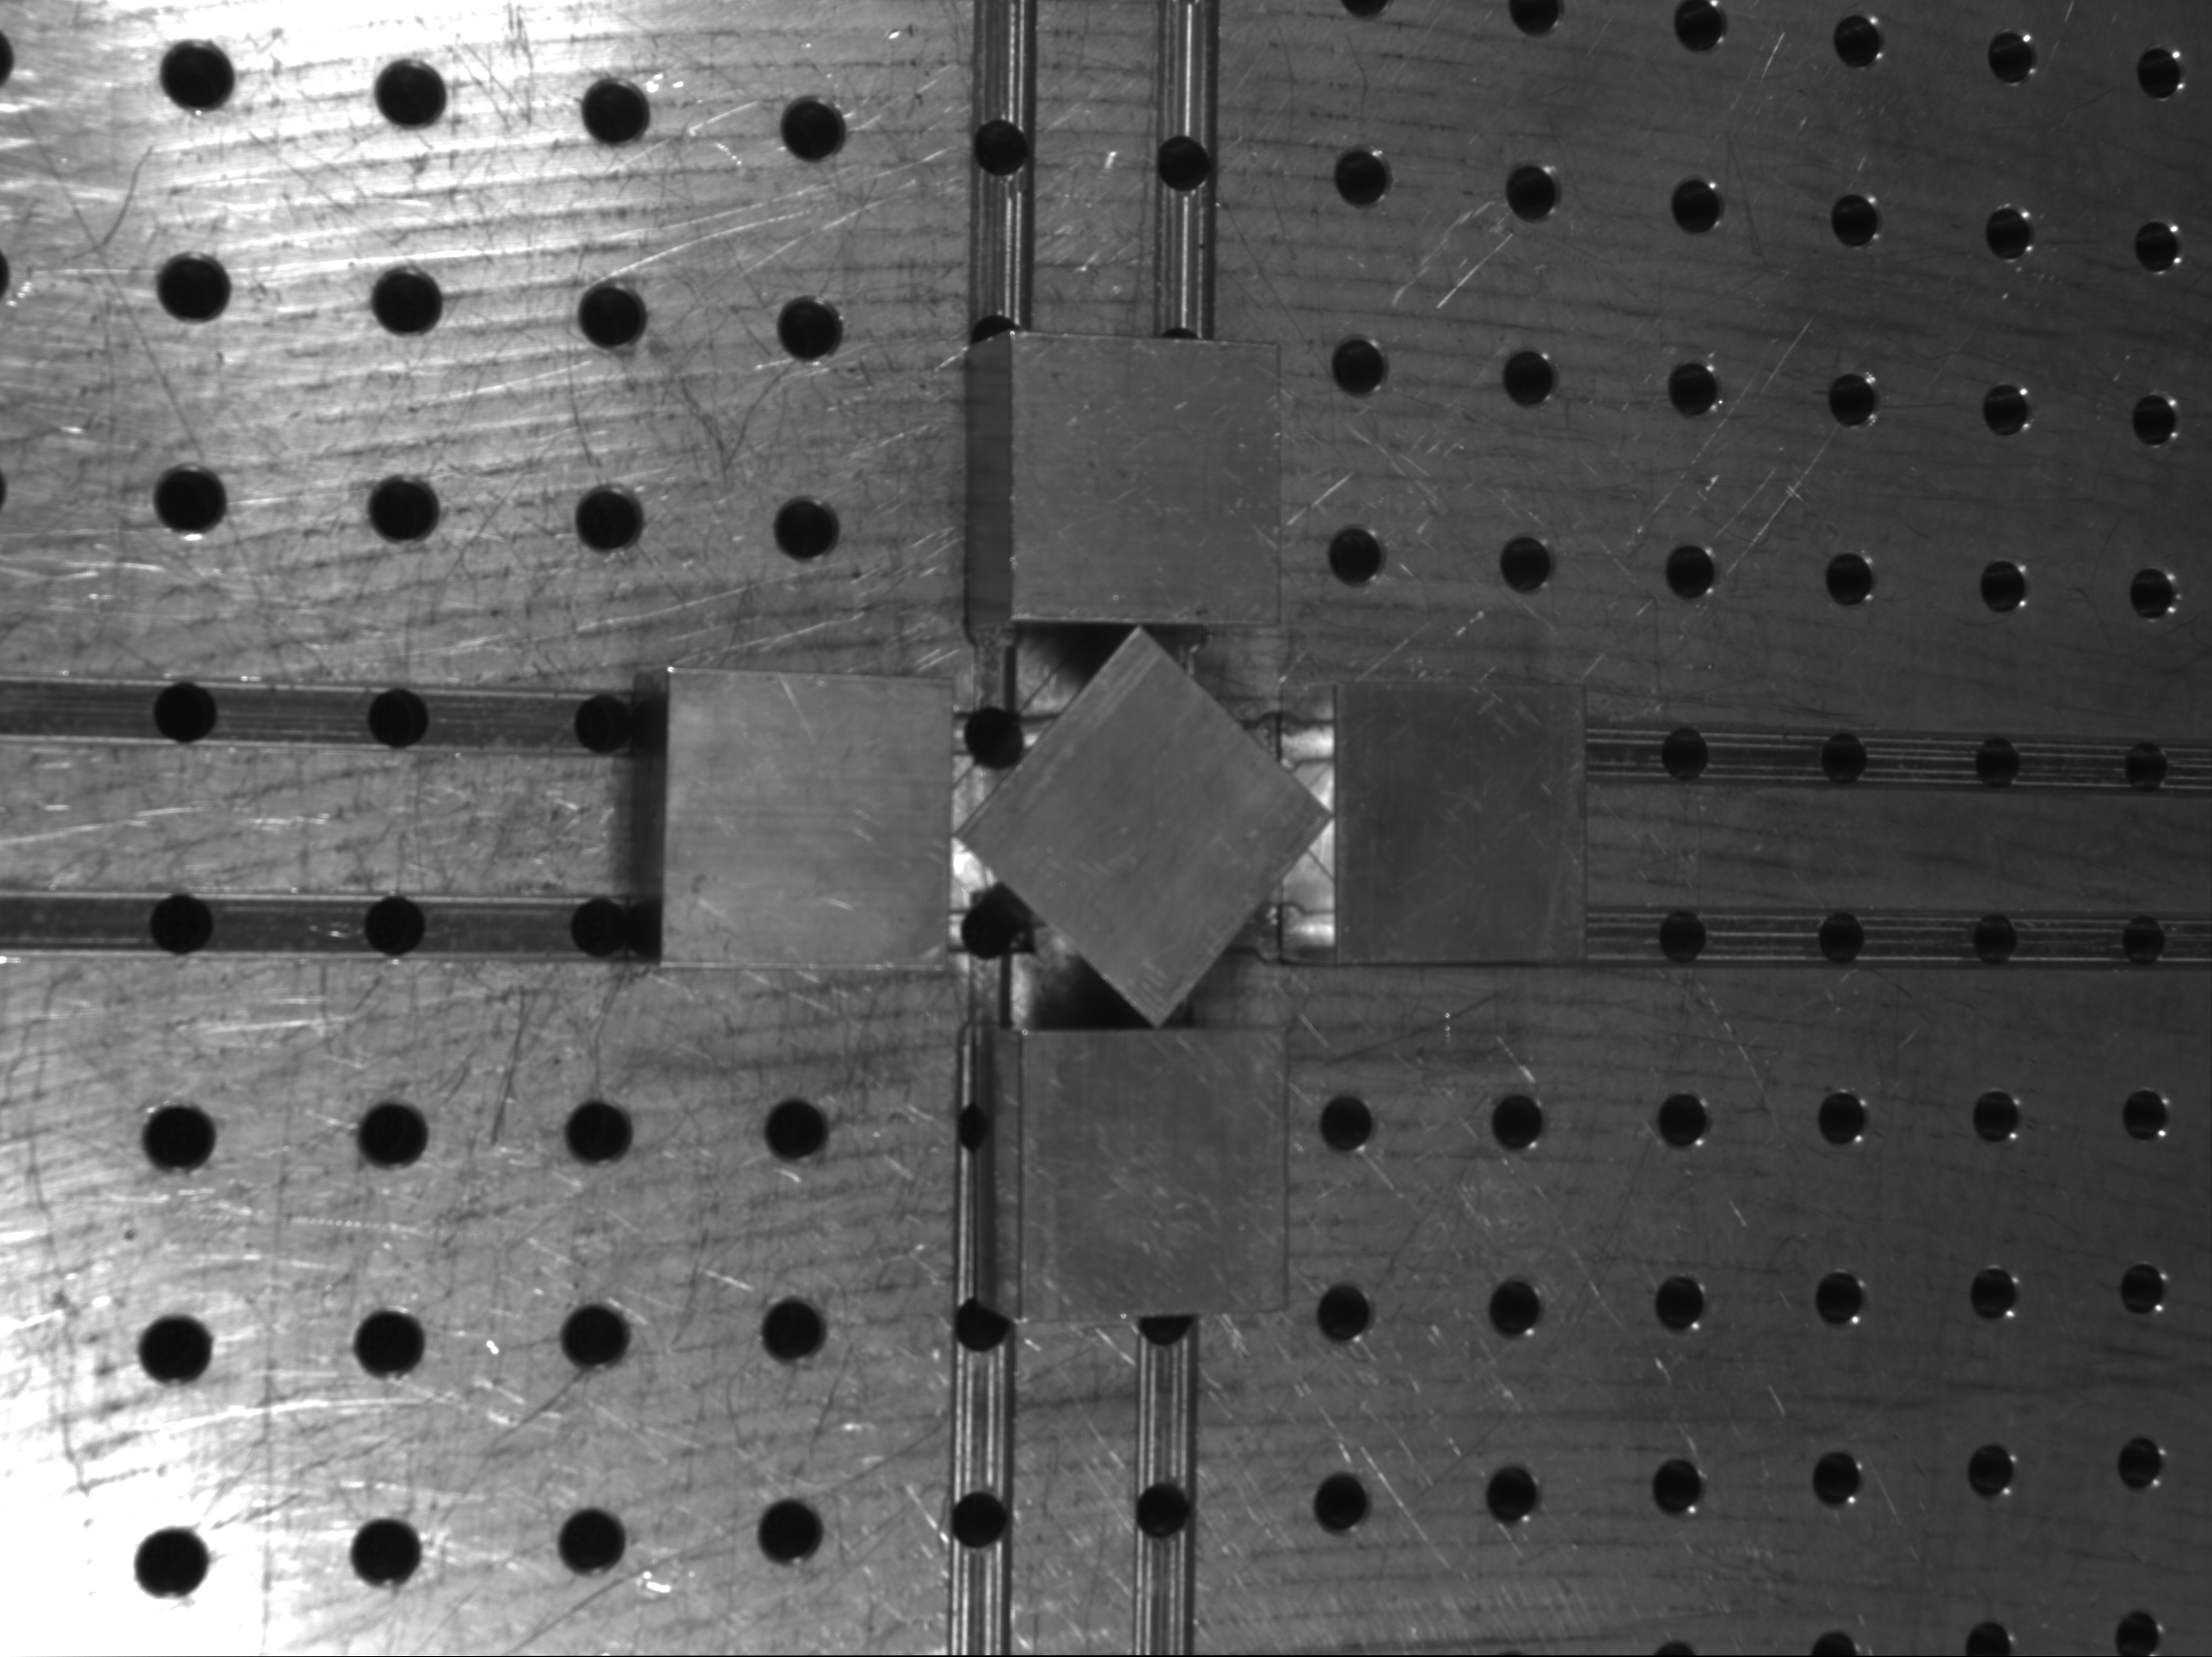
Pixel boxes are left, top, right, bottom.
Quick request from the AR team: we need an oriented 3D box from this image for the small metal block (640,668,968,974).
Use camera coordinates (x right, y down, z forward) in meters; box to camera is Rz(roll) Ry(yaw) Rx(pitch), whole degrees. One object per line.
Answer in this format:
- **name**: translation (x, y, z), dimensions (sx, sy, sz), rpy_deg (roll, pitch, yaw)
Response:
- **small metal block**: translation (-0.052, -0.001, 0.627), dimensions (0.050, 0.025, 0.050), rpy_deg (2, 89, -20)

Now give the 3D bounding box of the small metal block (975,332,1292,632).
- **small metal block**: translation (0.005, -0.060, 0.648), dimensions (0.050, 0.025, 0.050), rpy_deg (-1, 90, -20)

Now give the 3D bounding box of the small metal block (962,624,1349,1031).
- **small metal block**: translation (0.005, 0.000, 0.648), dimensions (0.050, 0.025, 0.050), rpy_deg (44, 76, -15)

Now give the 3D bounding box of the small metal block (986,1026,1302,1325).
- **small metal block**: translation (0.007, 0.060, 0.648), dimensions (0.050, 0.025, 0.050), rpy_deg (0, 90, -20)

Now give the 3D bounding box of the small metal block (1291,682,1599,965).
- **small metal block**: translation (0.062, -0.001, 0.668), dimensions (0.050, 0.025, 0.050), rpy_deg (0, 90, -20)
